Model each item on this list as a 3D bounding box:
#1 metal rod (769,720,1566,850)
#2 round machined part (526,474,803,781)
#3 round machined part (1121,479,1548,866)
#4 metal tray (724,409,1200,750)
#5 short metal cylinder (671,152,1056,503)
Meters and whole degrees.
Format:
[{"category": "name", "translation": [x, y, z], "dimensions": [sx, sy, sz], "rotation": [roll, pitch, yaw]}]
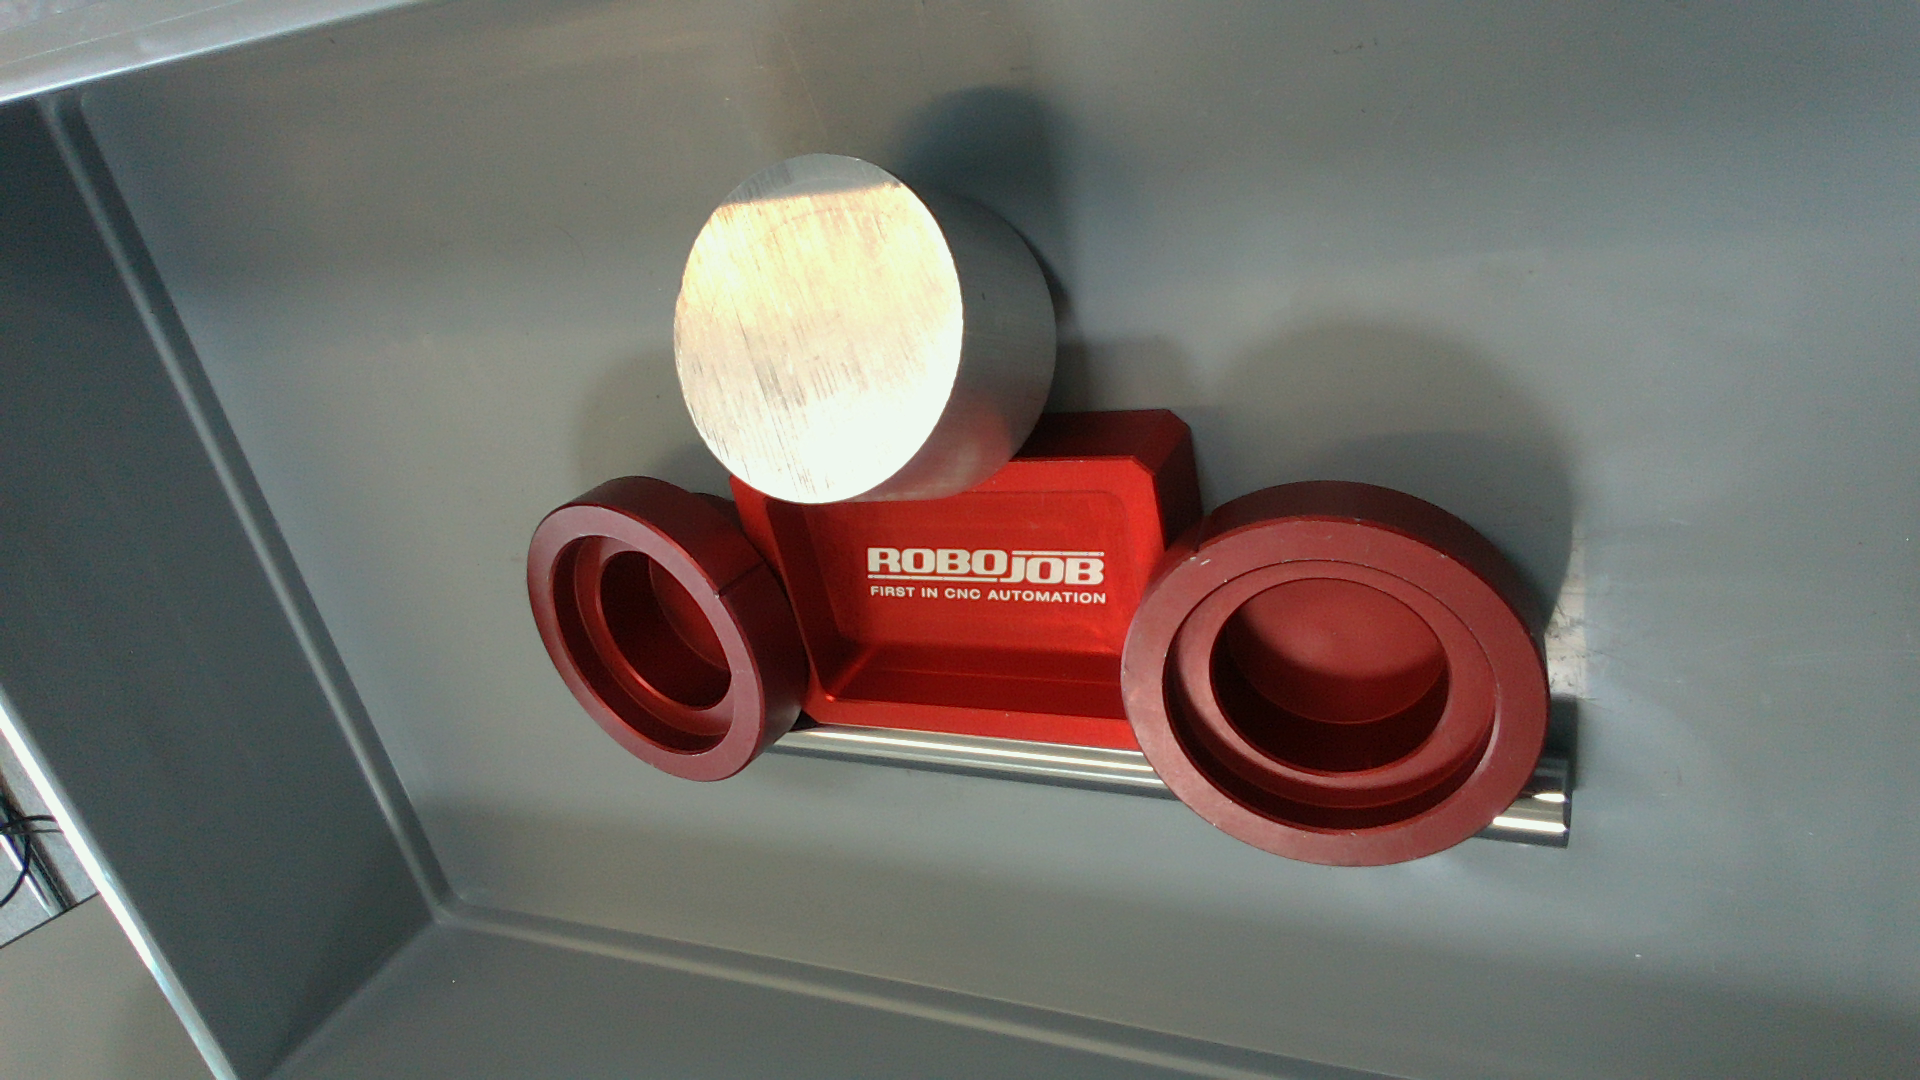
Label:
[{"category": "metal rod", "translation": [0.021, 0.062, 0.418], "dimensions": [0.299, 0.025, 0.025], "rotation": [2, 119, 27]}, {"category": "round machined part", "translation": [-0.087, 0.024, 0.436], "dimensions": [0.098, 0.042, 0.098], "rotation": [19, 126, 28]}, {"category": "round machined part", "translation": [0.092, 0.029, 0.342], "dimensions": [0.098, 0.042, 0.098], "rotation": [8, 119, 16]}, {"category": "metal tray", "translation": [0.004, 0.012, 0.392], "dimensions": [0.130, 0.030, 0.090], "rotation": [1, 119, 28]}, {"category": "short metal cylinder", "translation": [-0.023, -0.049, 0.338], "dimensions": [0.080, 0.050, 0.080], "rotation": [1, 93, 28]}]
